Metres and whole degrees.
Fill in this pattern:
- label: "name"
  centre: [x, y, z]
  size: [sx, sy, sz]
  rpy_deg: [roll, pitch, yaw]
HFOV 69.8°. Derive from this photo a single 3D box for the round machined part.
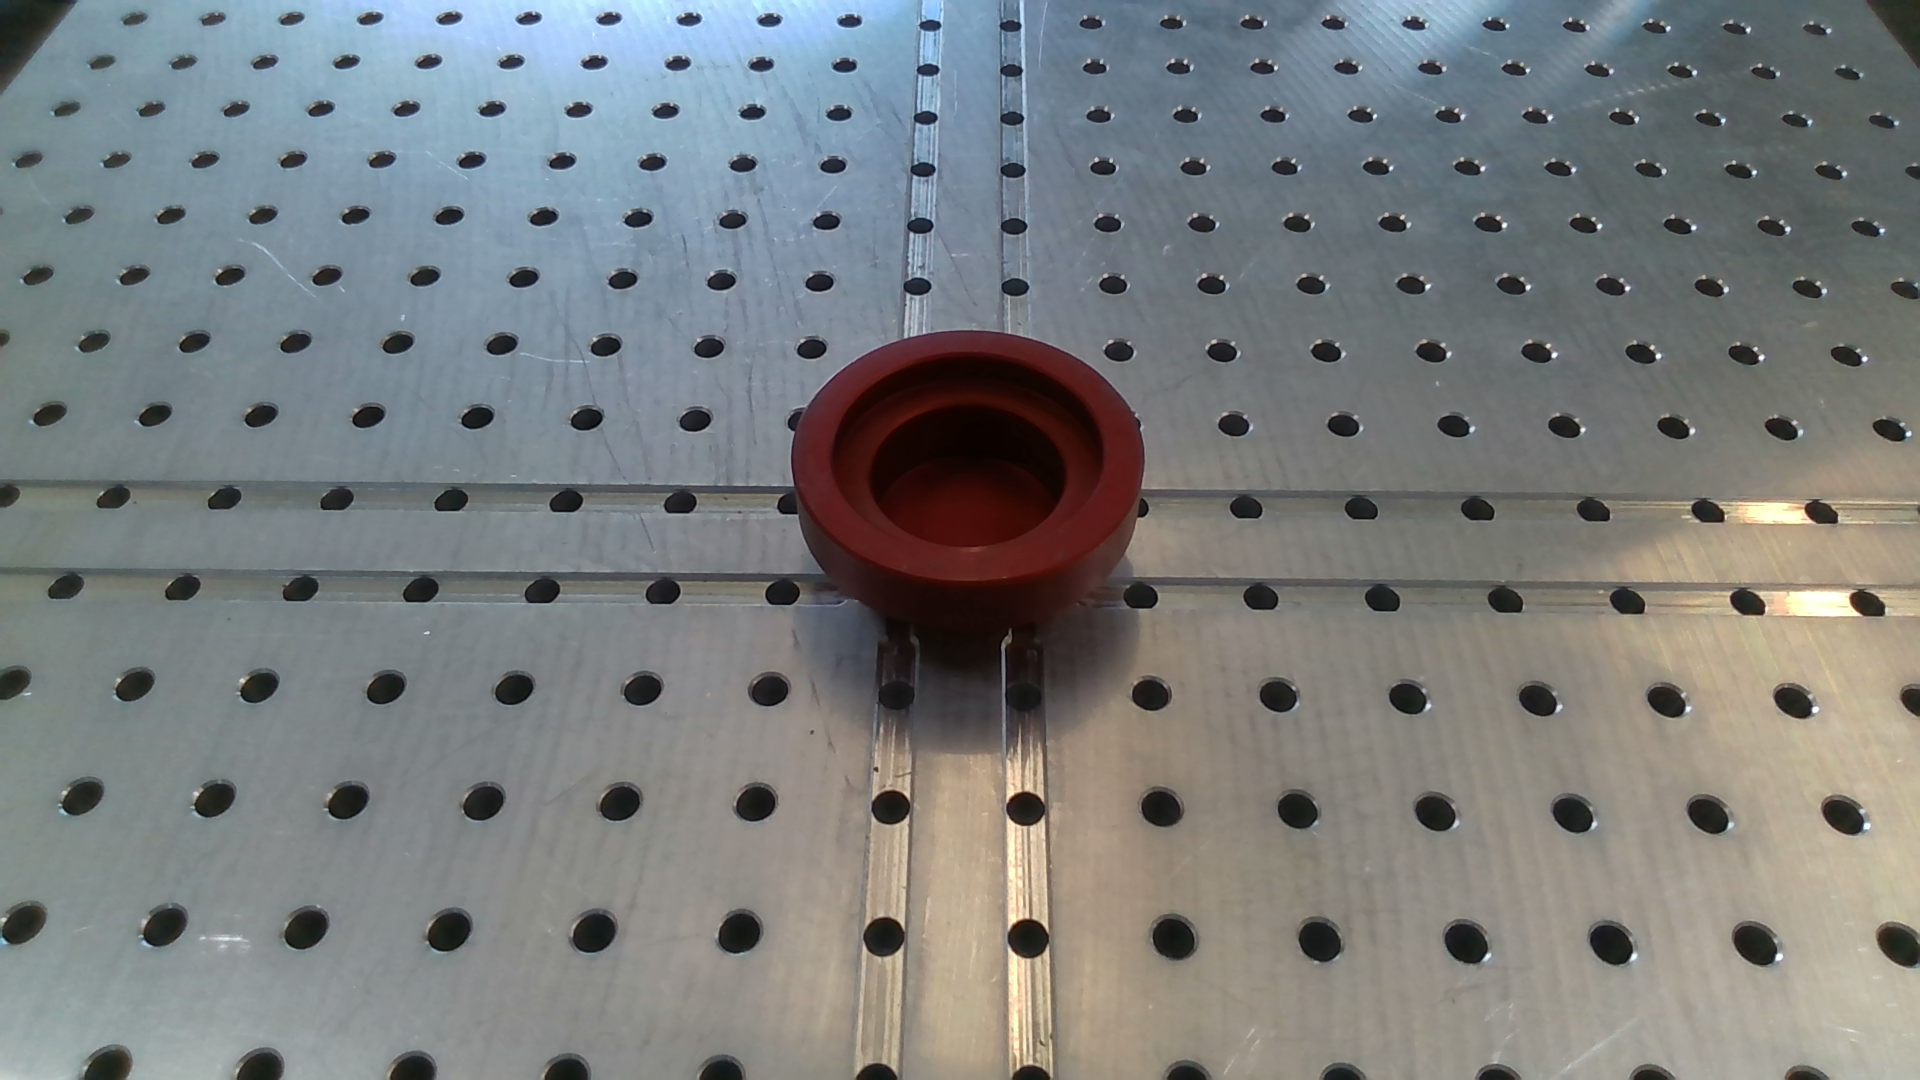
- label: "round machined part"
  centre: [0.002, -0.013, 0.396]
  size: [0.098, 0.042, 0.098]
  rpy_deg: [0, 50, 0]
